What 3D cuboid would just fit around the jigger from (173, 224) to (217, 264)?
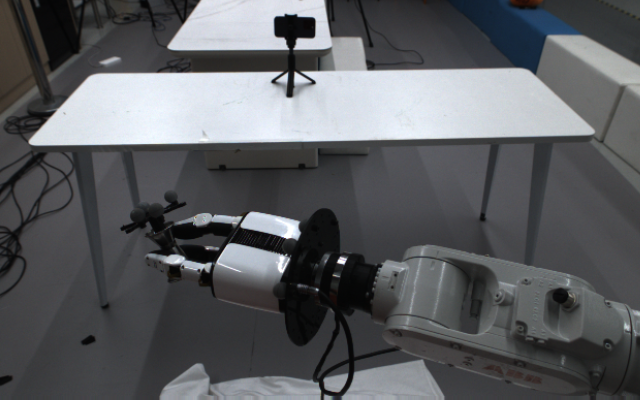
[{"bbox_3d":[-0.186,0.065,0.624,0.043,0.071,0.043,-22,15,6],"label":"jigger"}]
